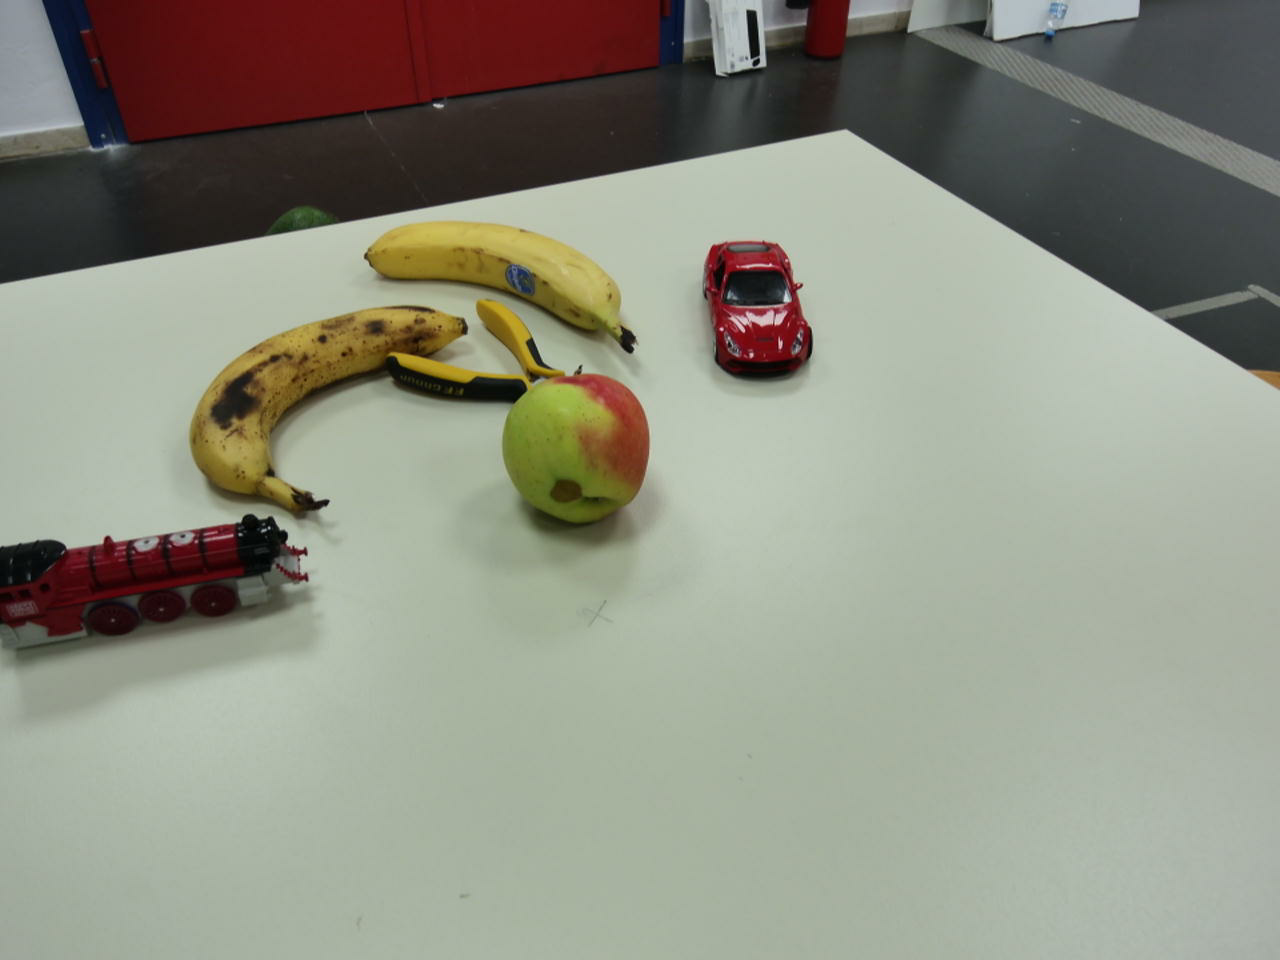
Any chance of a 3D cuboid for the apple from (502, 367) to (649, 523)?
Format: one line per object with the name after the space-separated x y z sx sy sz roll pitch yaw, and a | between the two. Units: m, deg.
-0.030 -0.018 0.503 0.075 0.074 0.075 -31 48 -34 | apple
